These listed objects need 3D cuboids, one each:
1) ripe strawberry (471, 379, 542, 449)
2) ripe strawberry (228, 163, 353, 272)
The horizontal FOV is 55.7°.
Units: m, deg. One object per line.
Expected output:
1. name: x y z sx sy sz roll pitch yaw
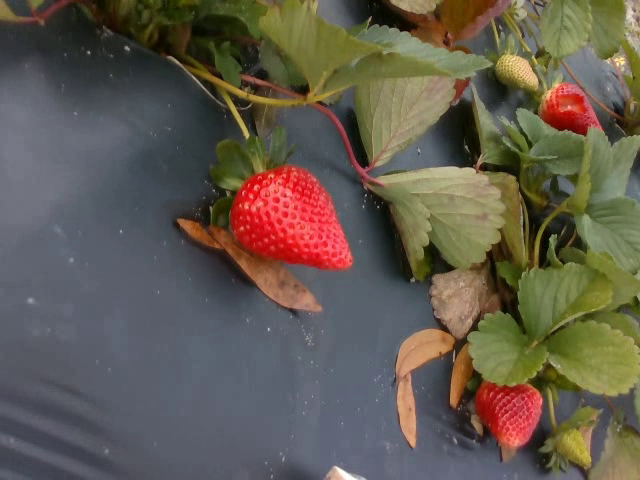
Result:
1. ripe strawberry: 0.099 0.093 0.307 0.037 0.040 0.042 -29 21 27
2. ripe strawberry: -0.008 -0.004 0.254 0.065 0.046 0.042 37 -9 31
